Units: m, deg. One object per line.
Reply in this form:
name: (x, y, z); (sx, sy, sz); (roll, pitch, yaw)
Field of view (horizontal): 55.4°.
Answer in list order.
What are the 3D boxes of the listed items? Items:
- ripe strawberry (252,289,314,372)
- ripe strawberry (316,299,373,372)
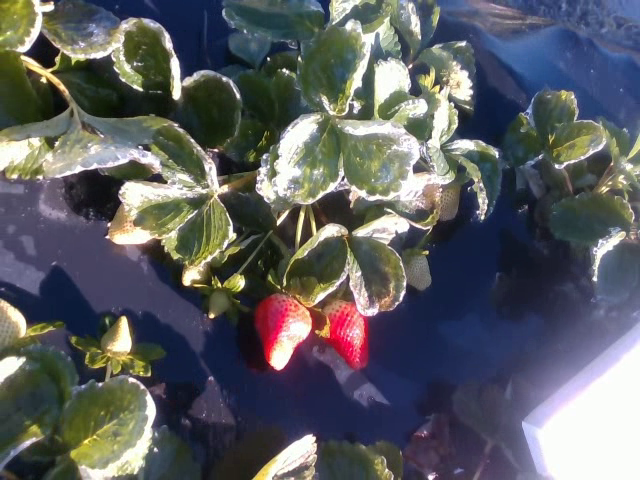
ripe strawberry: (-0.027, 0.078, 0.480); (0.052, 0.070, 0.040); (23, -12, -32)
ripe strawberry: (0.025, 0.077, 0.494); (0.043, 0.059, 0.040); (-28, 11, -20)
